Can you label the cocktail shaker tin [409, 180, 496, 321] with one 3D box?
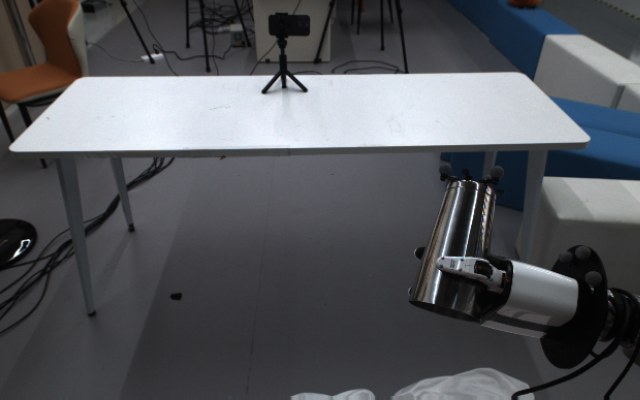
[{"bbox_3d":[0.182,0.064,0.639,0.093,0.093,0.170,13,74,15],"label":"cocktail shaker tin"}]
